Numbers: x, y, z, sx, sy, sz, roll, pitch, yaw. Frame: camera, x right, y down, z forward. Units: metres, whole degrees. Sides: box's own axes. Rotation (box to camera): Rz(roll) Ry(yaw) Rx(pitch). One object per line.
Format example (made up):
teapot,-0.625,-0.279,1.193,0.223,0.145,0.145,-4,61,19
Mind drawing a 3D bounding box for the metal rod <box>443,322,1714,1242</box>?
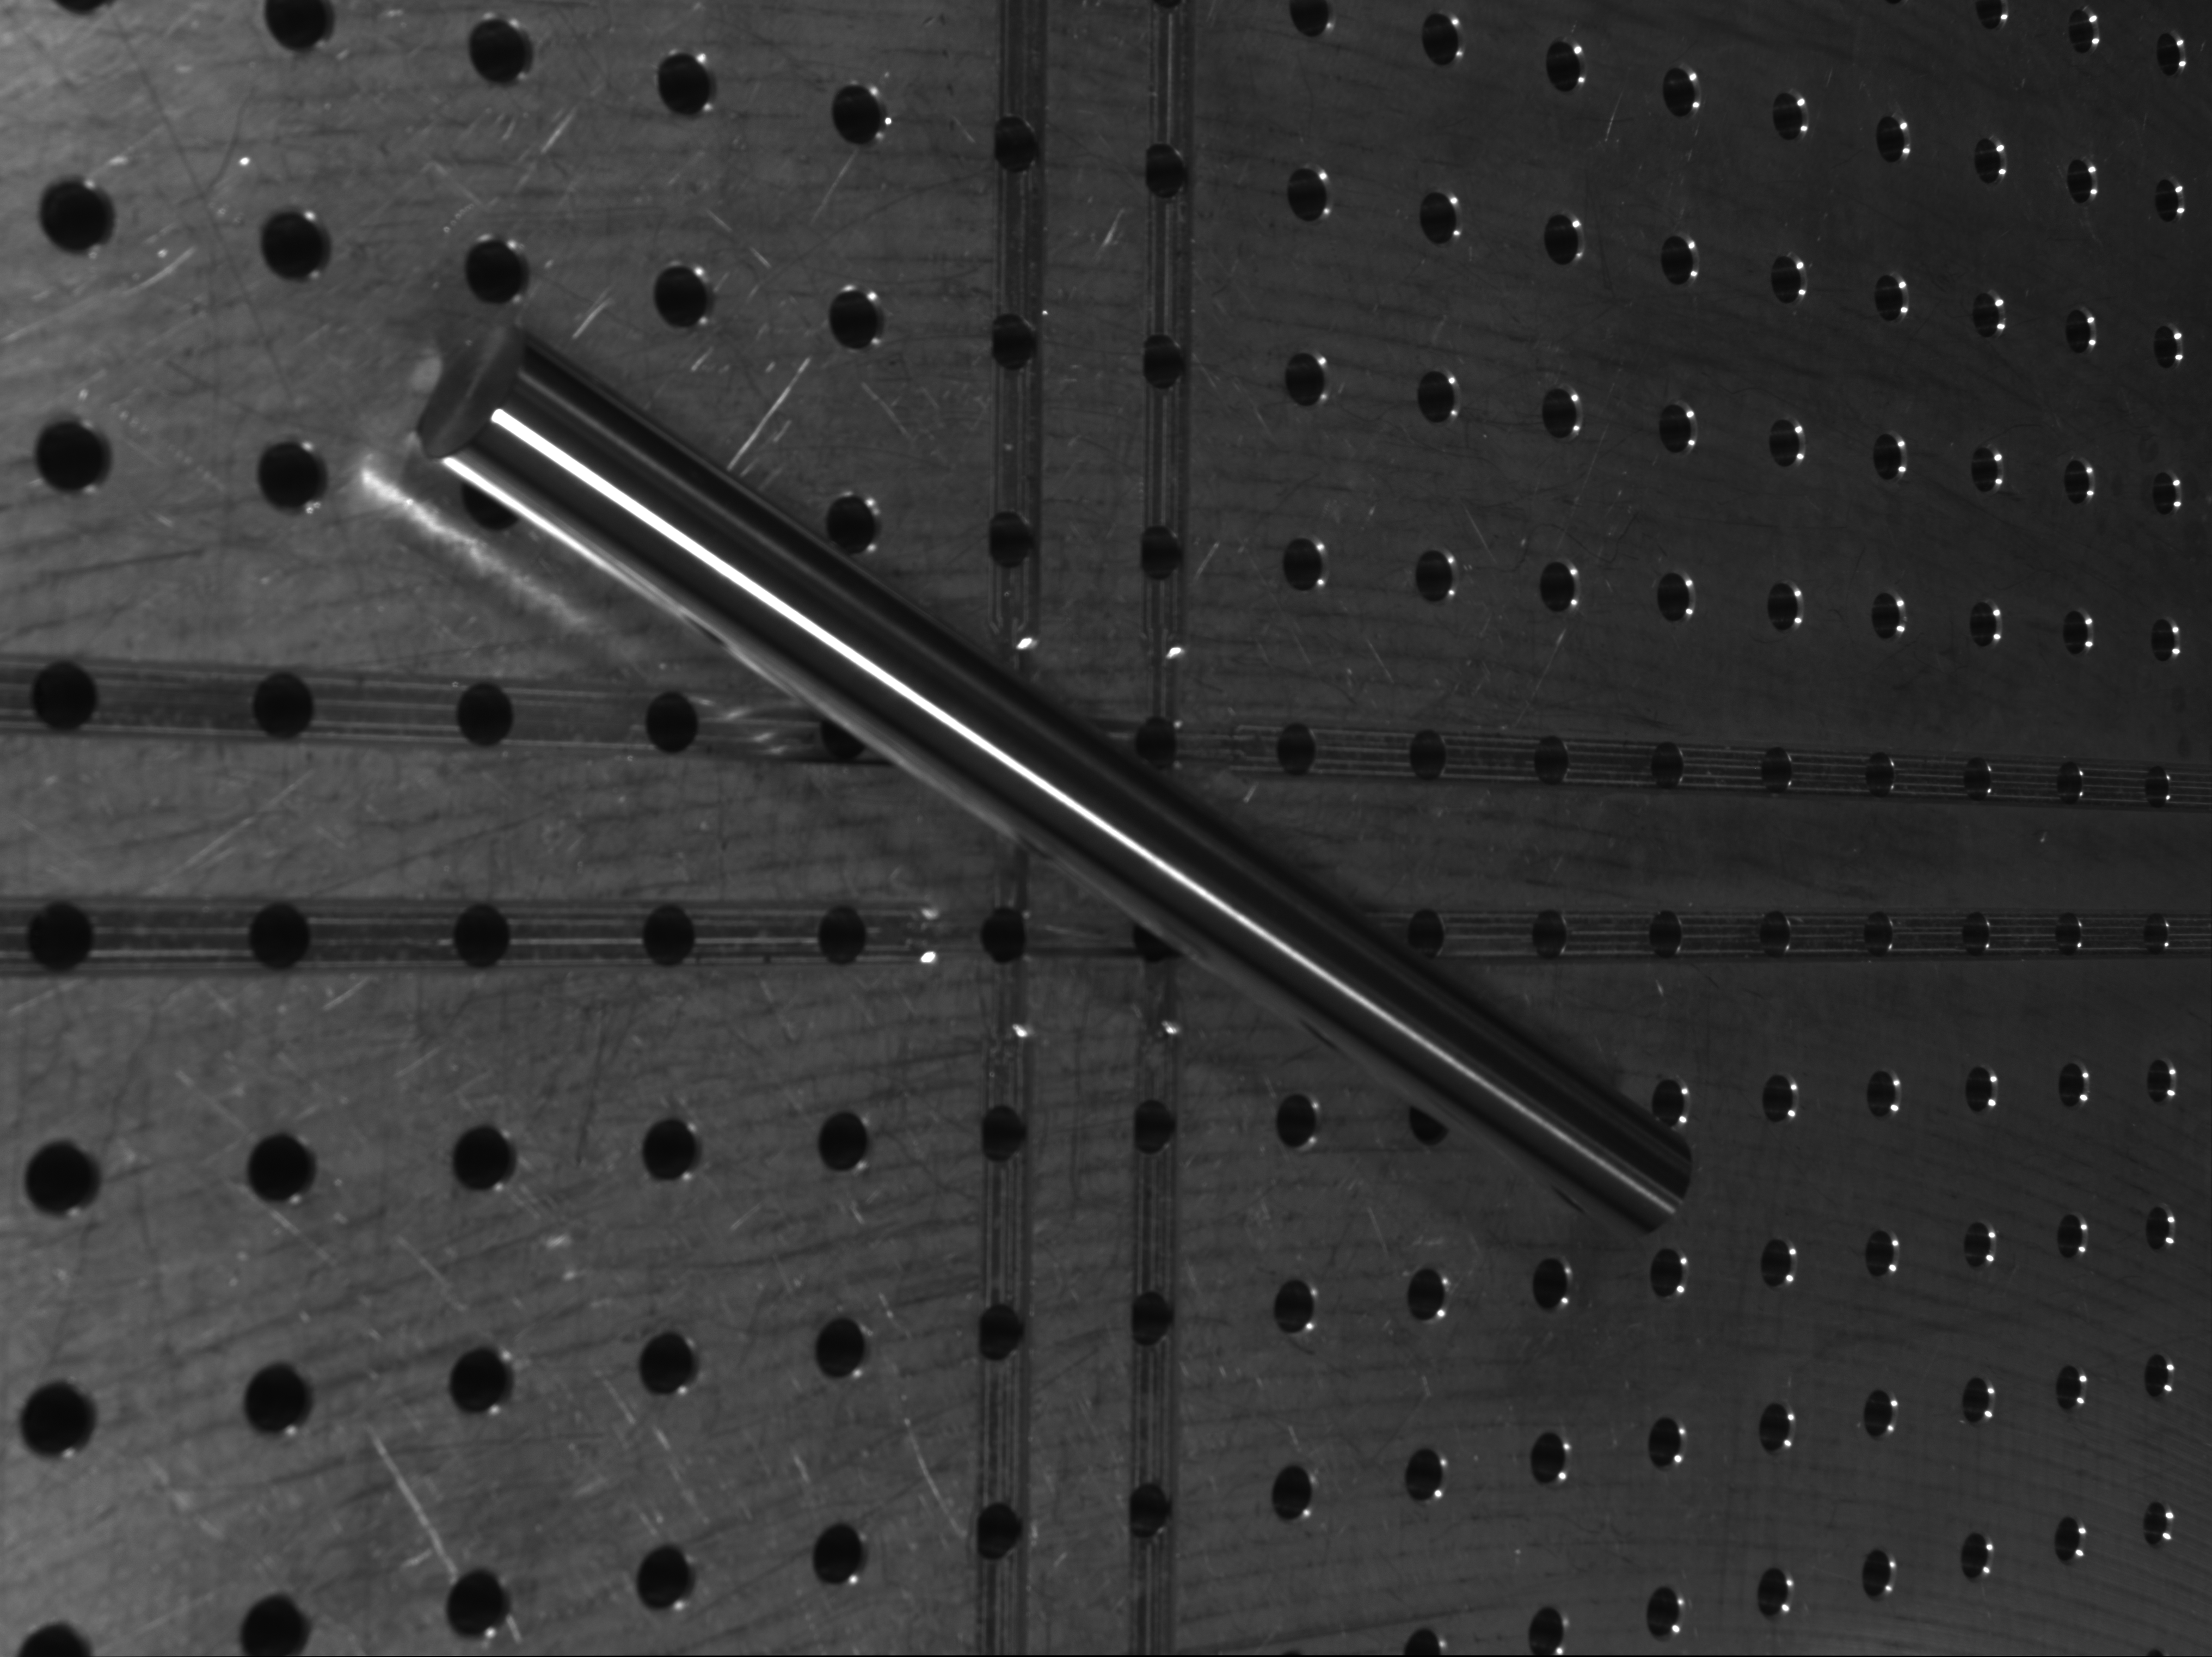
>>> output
metal rod,0.009,0.002,0.648,0.301,0.025,0.025,34,69,-35
